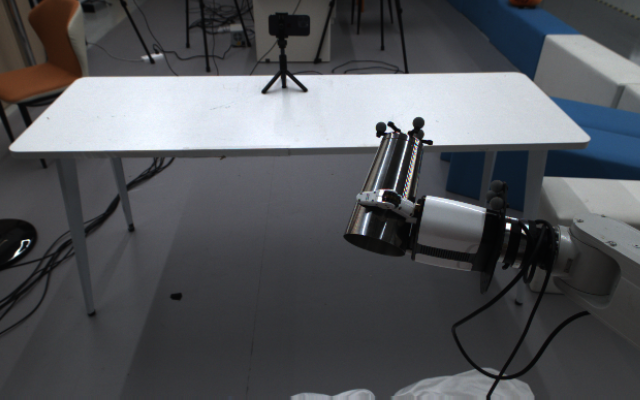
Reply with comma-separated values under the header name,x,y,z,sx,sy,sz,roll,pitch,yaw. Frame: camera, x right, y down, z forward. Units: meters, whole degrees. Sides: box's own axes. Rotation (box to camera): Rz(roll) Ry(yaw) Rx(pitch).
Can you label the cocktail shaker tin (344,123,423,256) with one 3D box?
name,x,y,z,sx,sy,sz,roll,pitch,yaw
cocktail shaker tin,0.103,-0.011,0.722,0.093,0.093,0.170,13,73,15
